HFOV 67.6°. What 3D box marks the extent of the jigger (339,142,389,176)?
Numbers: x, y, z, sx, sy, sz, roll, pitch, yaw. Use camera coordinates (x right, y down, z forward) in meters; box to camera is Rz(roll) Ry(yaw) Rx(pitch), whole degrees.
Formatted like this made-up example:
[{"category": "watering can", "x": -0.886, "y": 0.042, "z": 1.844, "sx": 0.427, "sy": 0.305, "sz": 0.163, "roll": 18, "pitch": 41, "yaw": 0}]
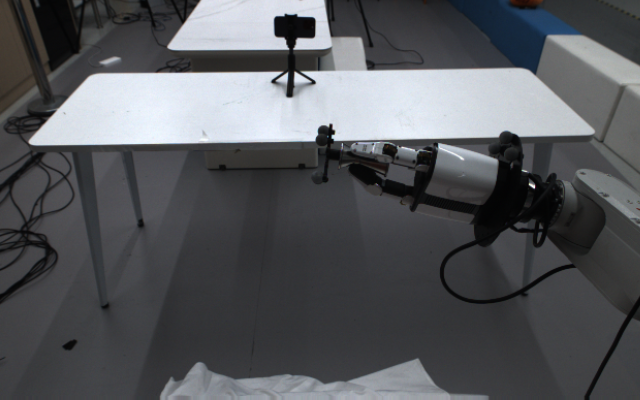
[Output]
[{"category": "jigger", "x": 0.068, "y": -0.061, "z": 0.678, "sx": 0.071, "sy": 0.043, "sz": 0.043, "roll": 7, "pitch": 35, "yaw": 1}]
